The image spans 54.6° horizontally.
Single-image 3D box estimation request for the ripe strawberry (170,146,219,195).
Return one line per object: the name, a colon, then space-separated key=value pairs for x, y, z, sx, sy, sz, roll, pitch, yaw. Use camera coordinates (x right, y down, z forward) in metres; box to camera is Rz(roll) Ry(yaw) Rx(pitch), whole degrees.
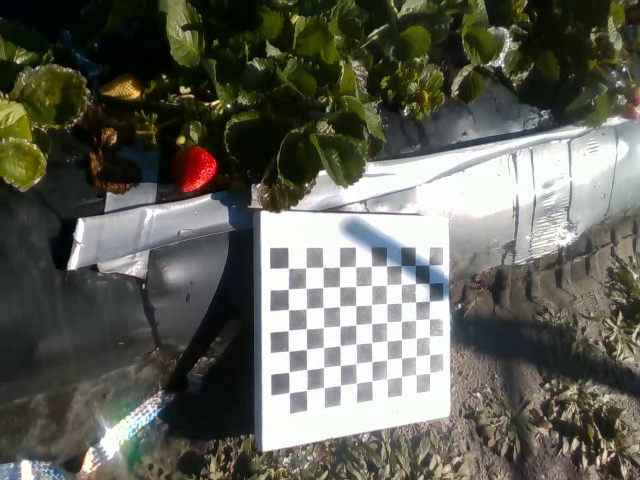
ripe strawberry: x=-0.140 y=-0.072 z=0.696 sx=0.057 sy=0.065 sz=0.061 roll=-39 pitch=-59 yaw=23
